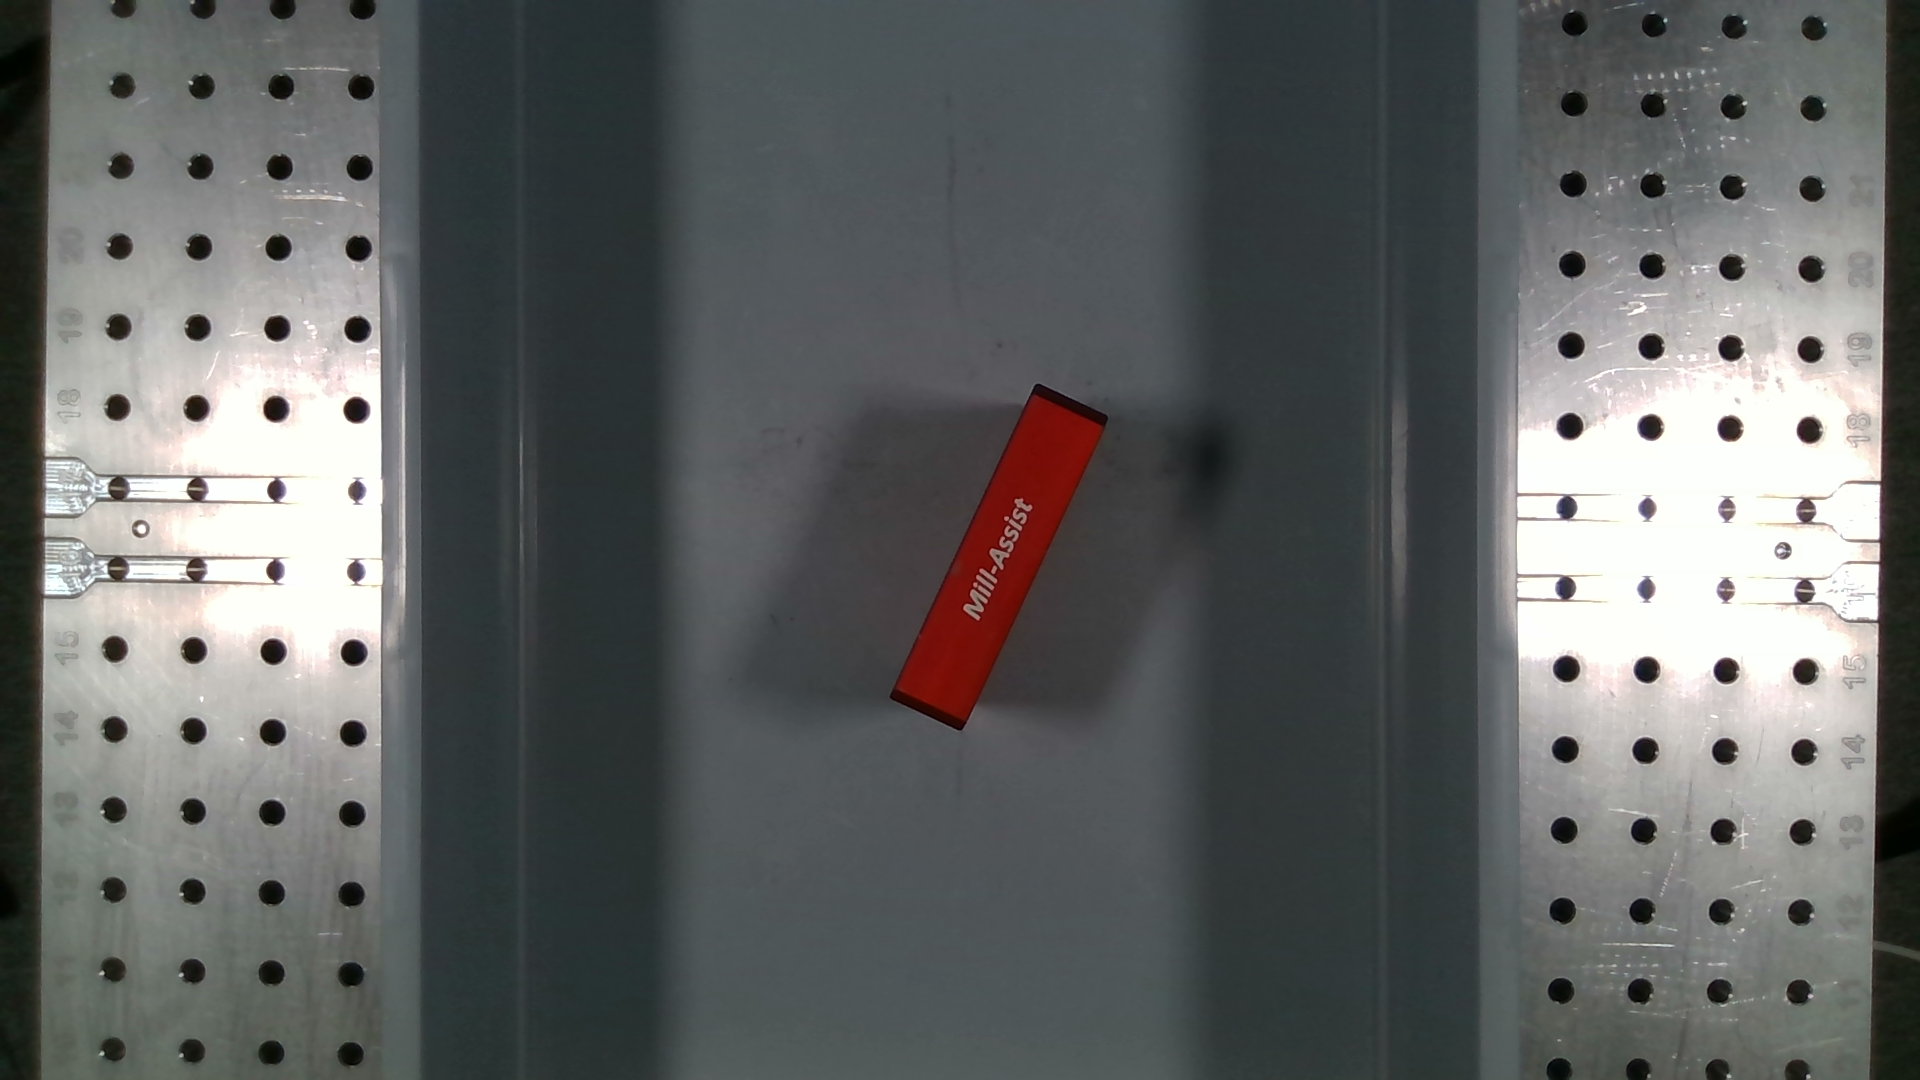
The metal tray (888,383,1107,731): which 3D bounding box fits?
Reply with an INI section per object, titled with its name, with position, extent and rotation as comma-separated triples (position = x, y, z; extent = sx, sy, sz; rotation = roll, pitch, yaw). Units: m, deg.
[metal tray]
position = 0.014, 0.006, 0.551
extent = 0.030, 0.090, 0.130
rotation = 25, 91, 0
